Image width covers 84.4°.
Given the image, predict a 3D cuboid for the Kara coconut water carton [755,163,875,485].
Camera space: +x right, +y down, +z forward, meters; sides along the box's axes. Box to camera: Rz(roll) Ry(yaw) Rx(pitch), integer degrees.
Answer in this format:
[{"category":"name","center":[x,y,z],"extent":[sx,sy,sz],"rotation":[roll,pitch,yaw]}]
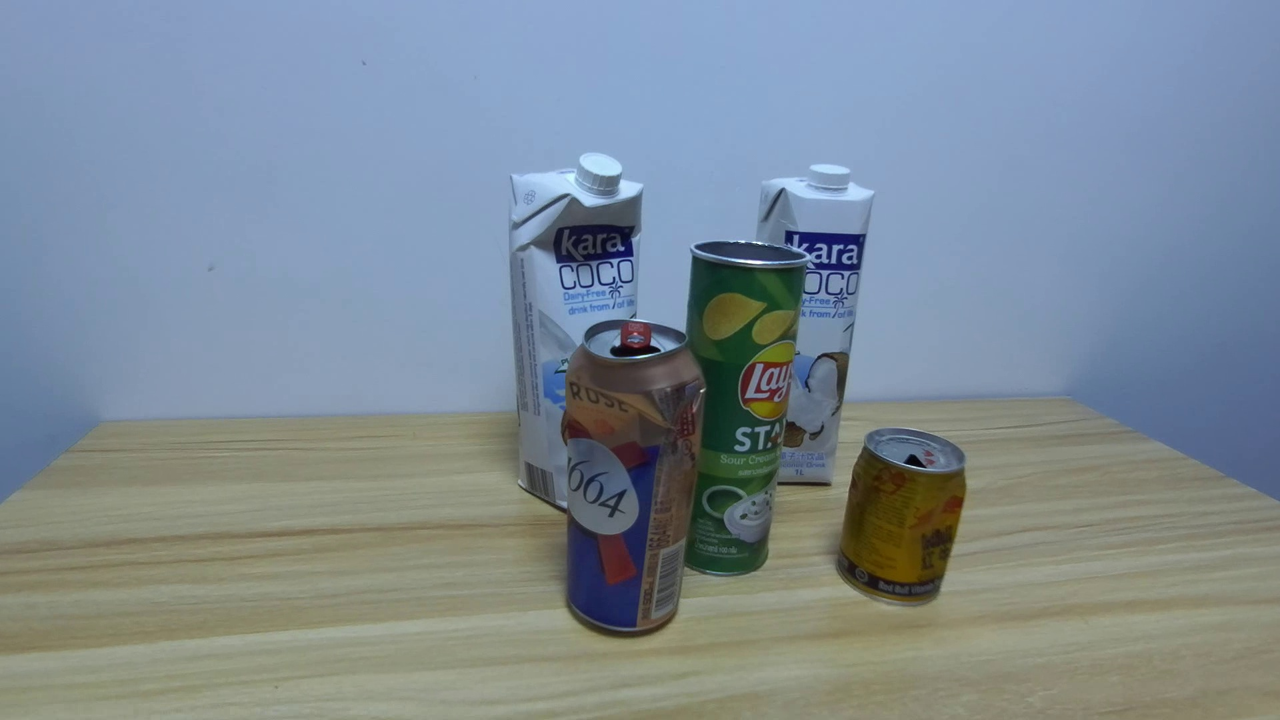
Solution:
[{"category":"Kara coconut water carton","center":[0.125,-0.026,0.552],"extent":[0.077,0.245,0.075],"rotation":[1,17,-5]}]

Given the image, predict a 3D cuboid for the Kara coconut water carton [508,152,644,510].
[{"category":"Kara coconut water carton","center":[-0.043,-0.023,0.513],"extent":[0.071,0.244,0.100],"rotation":[21,30,40]}]

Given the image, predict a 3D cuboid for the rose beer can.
[{"category":"rose beer can","center":[-0.008,0.066,0.387],"extent":[0.065,0.167,0.075],"rotation":[-10,25,-31]}]

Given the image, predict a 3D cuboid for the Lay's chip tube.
[{"category":"Lay's chip tube","center":[0.058,0.030,0.443],"extent":[0.071,0.202,0.071],"rotation":[4,19,-1]}]
